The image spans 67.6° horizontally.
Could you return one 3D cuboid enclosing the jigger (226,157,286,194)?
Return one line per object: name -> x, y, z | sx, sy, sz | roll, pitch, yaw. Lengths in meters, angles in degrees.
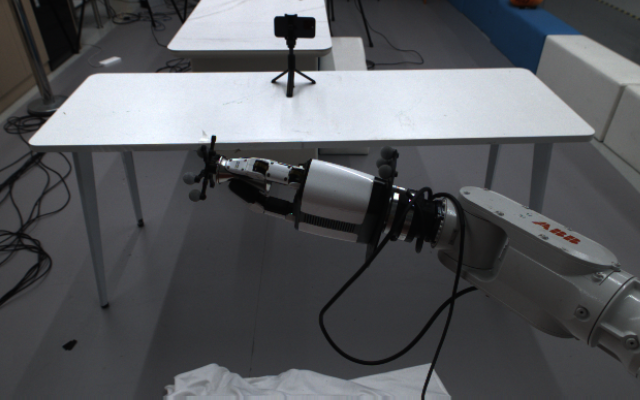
jigger -> -0.093, -0.038, 0.645 | 0.071, 0.043, 0.043 | 11, 35, 3
